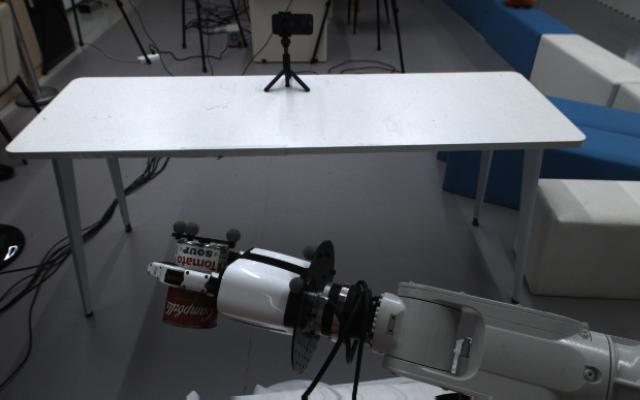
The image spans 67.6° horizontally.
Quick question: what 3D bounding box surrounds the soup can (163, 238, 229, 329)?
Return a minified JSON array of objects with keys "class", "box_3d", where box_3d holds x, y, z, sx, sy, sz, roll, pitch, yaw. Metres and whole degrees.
[{"class":"soup can","box_3d":[-0.154,0.105,0.608,0.067,0.101,0.067,9,-6,1]}]
